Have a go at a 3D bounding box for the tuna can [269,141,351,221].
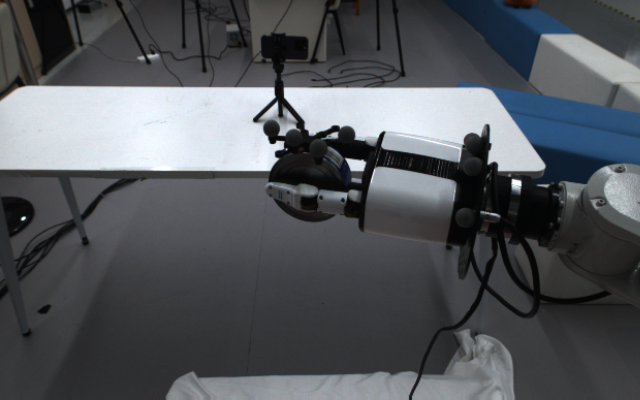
[{"bbox_3d":[-0.008,-0.021,0.525,0.085,0.085,0.034,10,34,12],"label":"tuna can"}]
